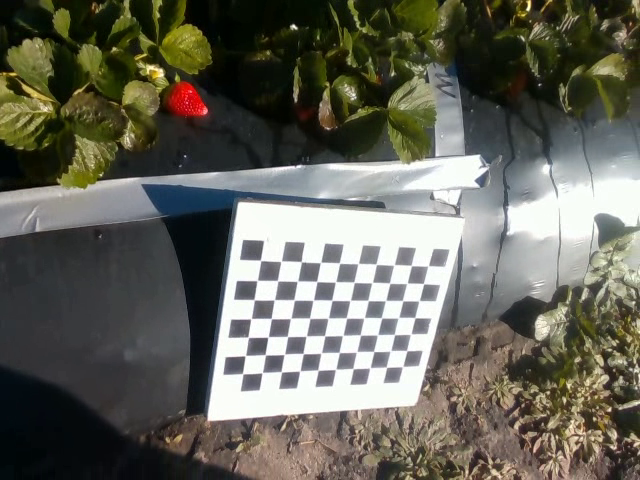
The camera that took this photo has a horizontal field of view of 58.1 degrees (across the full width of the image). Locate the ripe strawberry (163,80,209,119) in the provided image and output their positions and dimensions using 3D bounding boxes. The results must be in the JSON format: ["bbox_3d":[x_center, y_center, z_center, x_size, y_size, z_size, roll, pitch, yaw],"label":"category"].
[{"bbox_3d":[-0.149,-0.157,0.651,0.058,0.046,0.042,34,6,-8],"label":"ripe strawberry"}]
